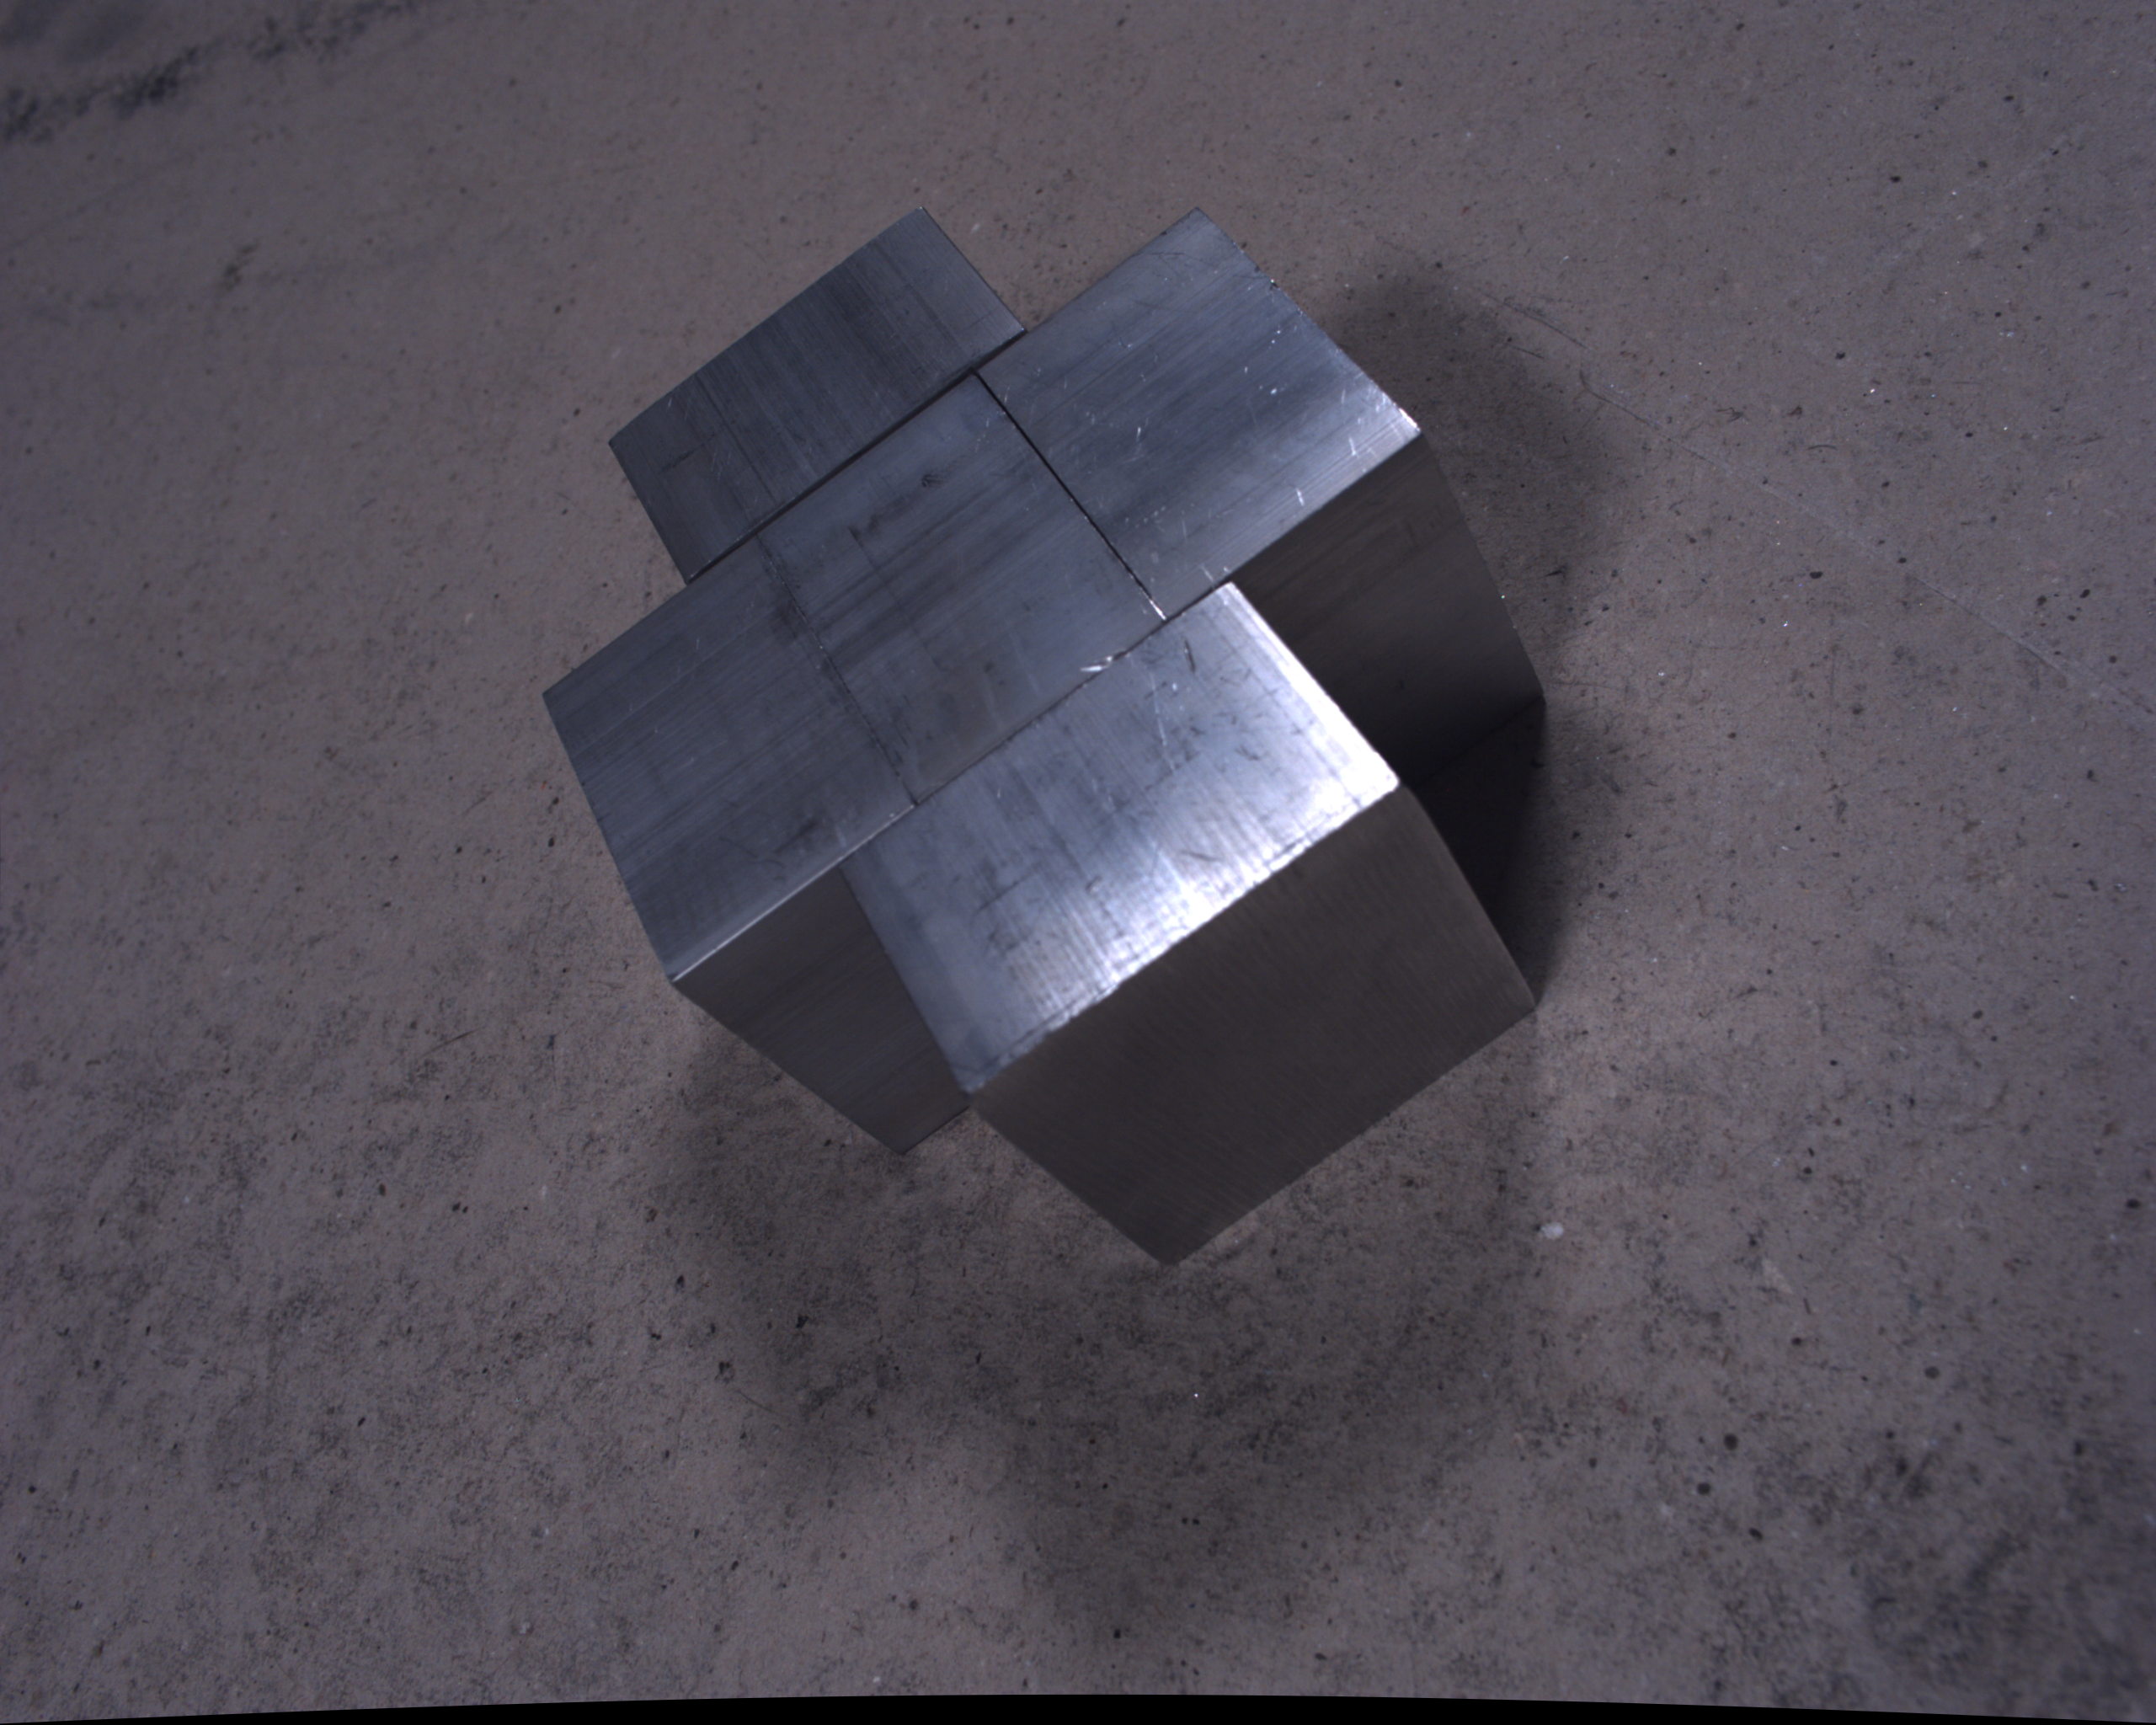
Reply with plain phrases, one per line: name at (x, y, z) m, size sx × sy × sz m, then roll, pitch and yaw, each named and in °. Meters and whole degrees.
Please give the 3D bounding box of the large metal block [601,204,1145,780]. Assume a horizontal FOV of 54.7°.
large metal block at (-0.036, -0.073, 0.433) m, size 0.080 × 0.080 × 0.050 m, roll -36°, pitch 51°, yaw 4°

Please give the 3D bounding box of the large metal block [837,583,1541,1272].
large metal block at (0.021, 0.014, 0.350) m, size 0.080 × 0.080 × 0.050 m, roll -36°, pitch 51°, yaw 4°

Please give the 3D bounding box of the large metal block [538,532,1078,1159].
large metal block at (-0.047, -0.002, 0.395) m, size 0.050 × 0.080 × 0.080 m, roll -36°, pitch 51°, yaw 4°

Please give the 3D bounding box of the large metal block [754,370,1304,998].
large metal block at (-0.006, -0.031, 0.392) m, size 0.050 × 0.080 × 0.080 m, roll -36°, pitch 51°, yaw 4°

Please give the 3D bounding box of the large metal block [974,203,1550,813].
large metal block at (0.035, -0.061, 0.389) m, size 0.050 × 0.080 × 0.080 m, roll -36°, pitch 51°, yaw 4°
